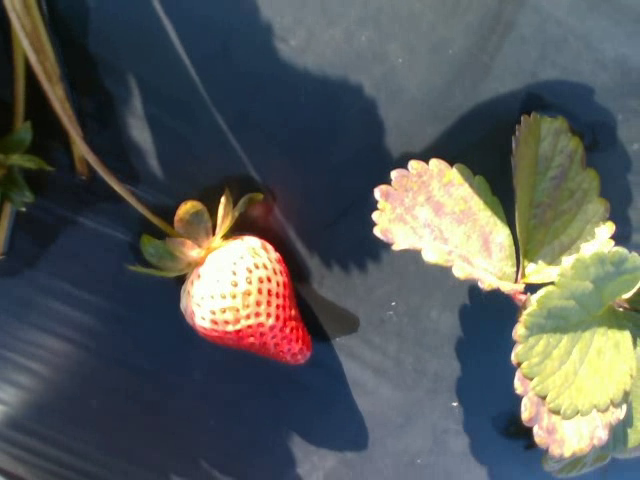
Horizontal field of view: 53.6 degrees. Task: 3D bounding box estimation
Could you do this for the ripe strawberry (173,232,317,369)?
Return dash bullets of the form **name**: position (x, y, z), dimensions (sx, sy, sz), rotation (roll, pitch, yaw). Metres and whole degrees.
- **ripe strawberry**: position (-0.020, 0.024, 0.203), dimensions (0.063, 0.044, 0.044), rotation (41, -24, -12)
